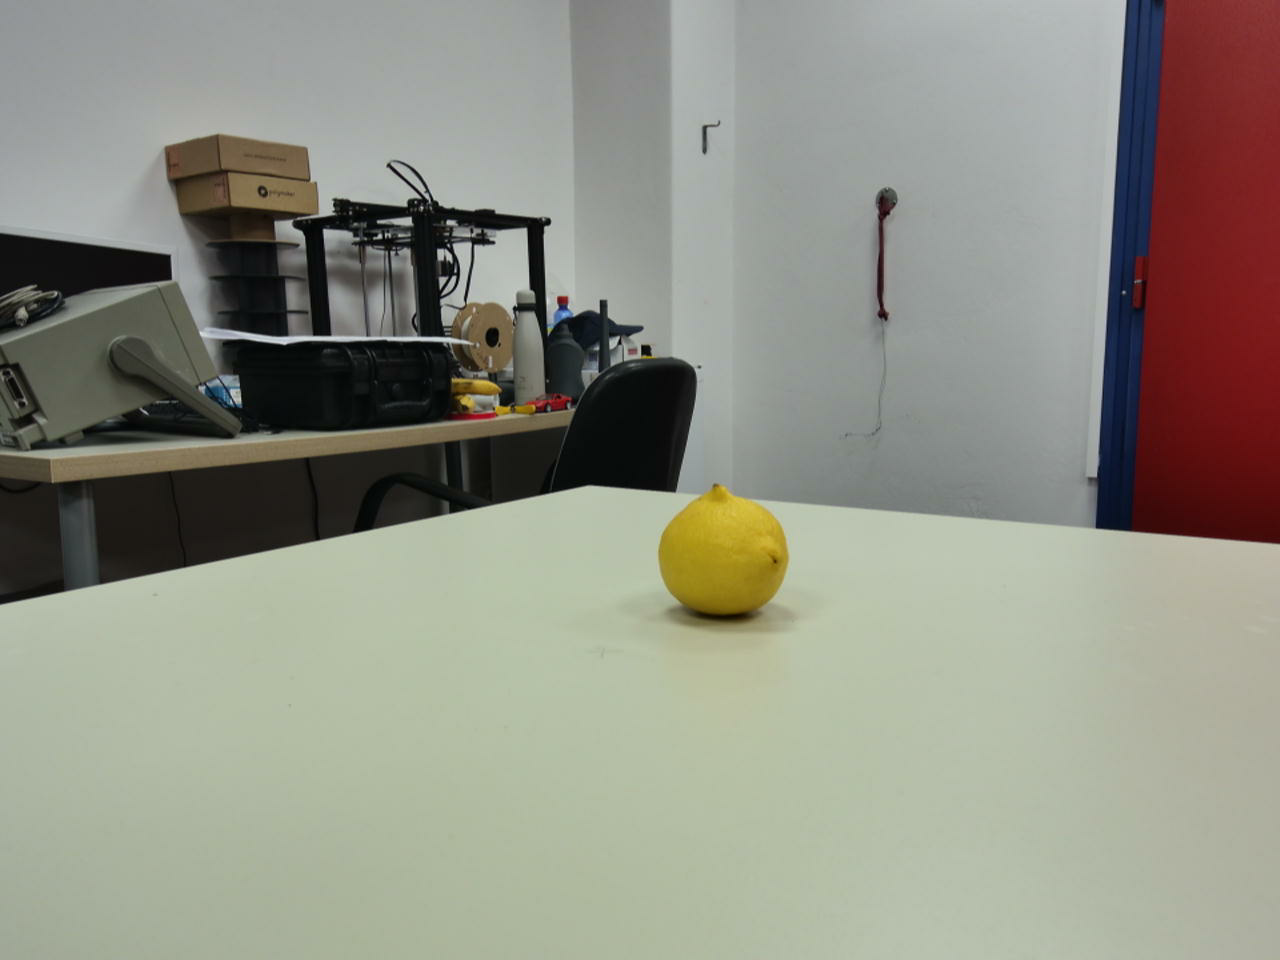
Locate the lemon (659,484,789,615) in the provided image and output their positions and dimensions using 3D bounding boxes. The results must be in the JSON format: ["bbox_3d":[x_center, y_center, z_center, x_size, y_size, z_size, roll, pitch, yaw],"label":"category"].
[{"bbox_3d":[0.045,0.038,0.550,0.070,0.071,0.071,0,6,2],"label":"lemon"}]
